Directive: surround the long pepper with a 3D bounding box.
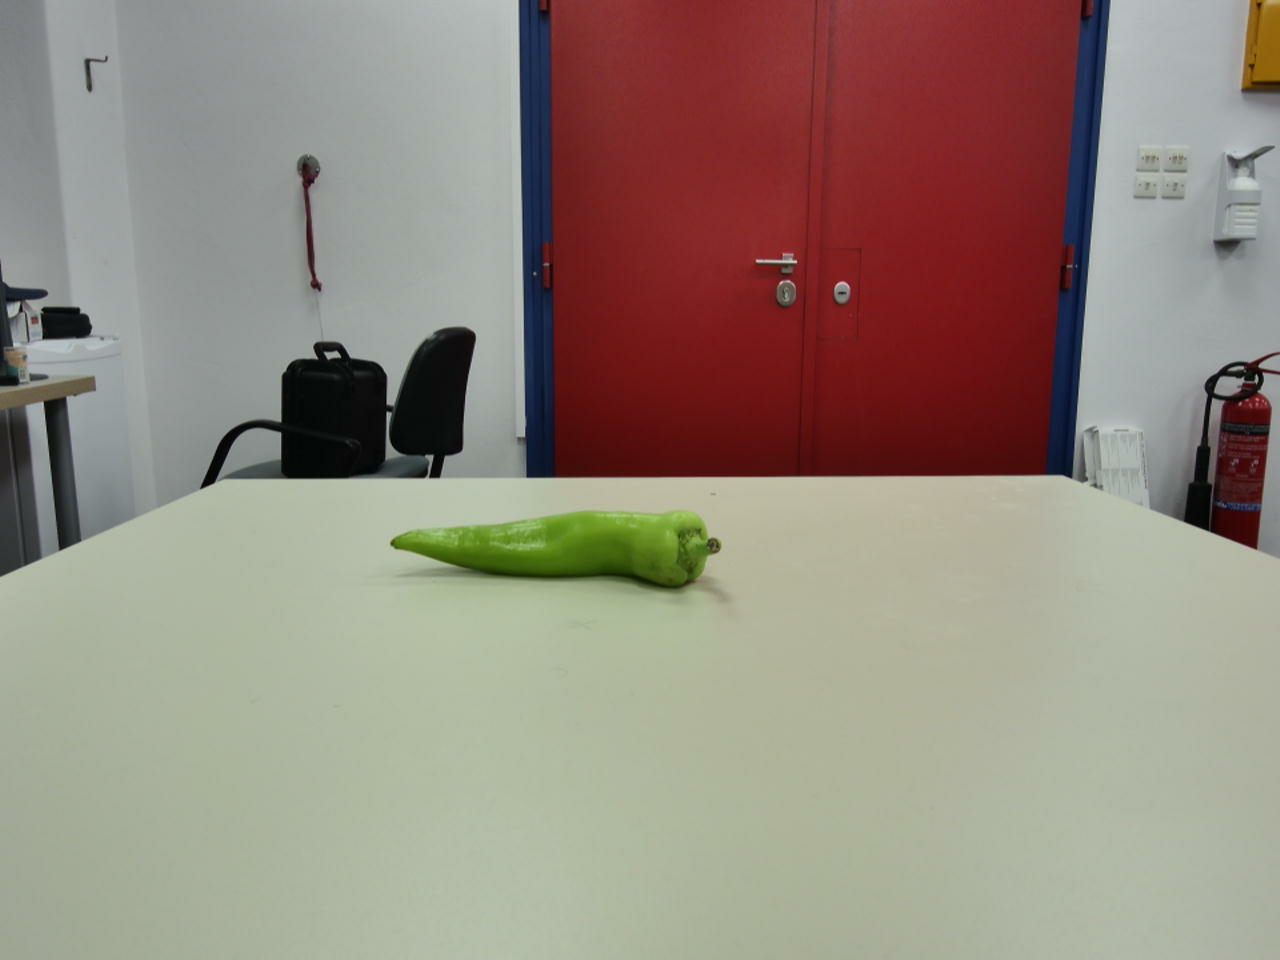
[{"bbox_3d":[-0.044,0.038,0.612,0.205,0.045,0.065,2,8,15],"label":"long pepper"}]
